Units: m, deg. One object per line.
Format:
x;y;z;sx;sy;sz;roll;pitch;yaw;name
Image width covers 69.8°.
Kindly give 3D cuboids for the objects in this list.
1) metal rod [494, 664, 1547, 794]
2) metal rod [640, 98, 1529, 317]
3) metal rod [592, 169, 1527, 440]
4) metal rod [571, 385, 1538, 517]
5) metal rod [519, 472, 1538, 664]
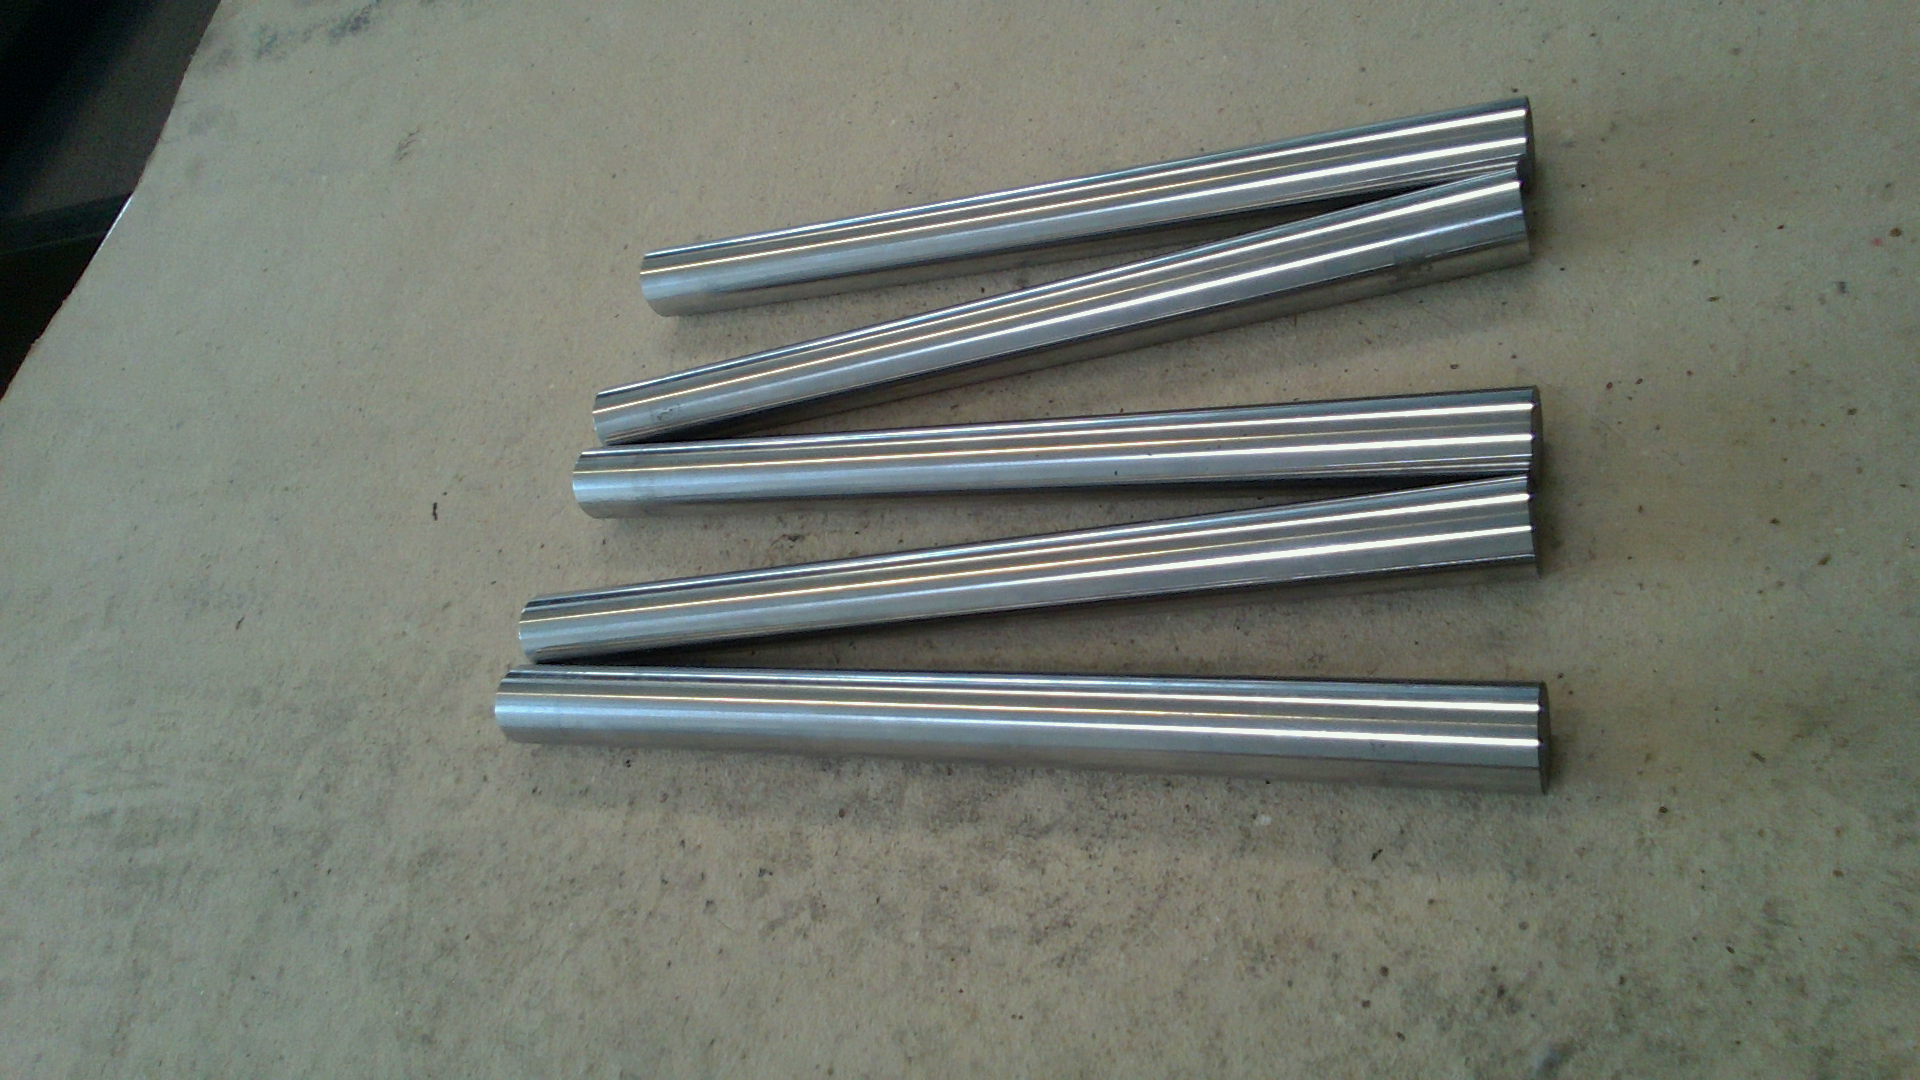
-0.006;0.047;0.368;0.299;0.025;0.025;-2;61;27;metal rod
0.022;-0.102;0.445;0.299;0.025;0.025;-3;60;27;metal rod
0.014;-0.064;0.426;0.299;0.025;0.025;-9;57;23;metal rod
0.007;-0.023;0.404;0.299;0.025;0.025;-1;61;28;metal rod
0.000;0.013;0.386;0.299;0.025;0.025;-7;58;25;metal rod
